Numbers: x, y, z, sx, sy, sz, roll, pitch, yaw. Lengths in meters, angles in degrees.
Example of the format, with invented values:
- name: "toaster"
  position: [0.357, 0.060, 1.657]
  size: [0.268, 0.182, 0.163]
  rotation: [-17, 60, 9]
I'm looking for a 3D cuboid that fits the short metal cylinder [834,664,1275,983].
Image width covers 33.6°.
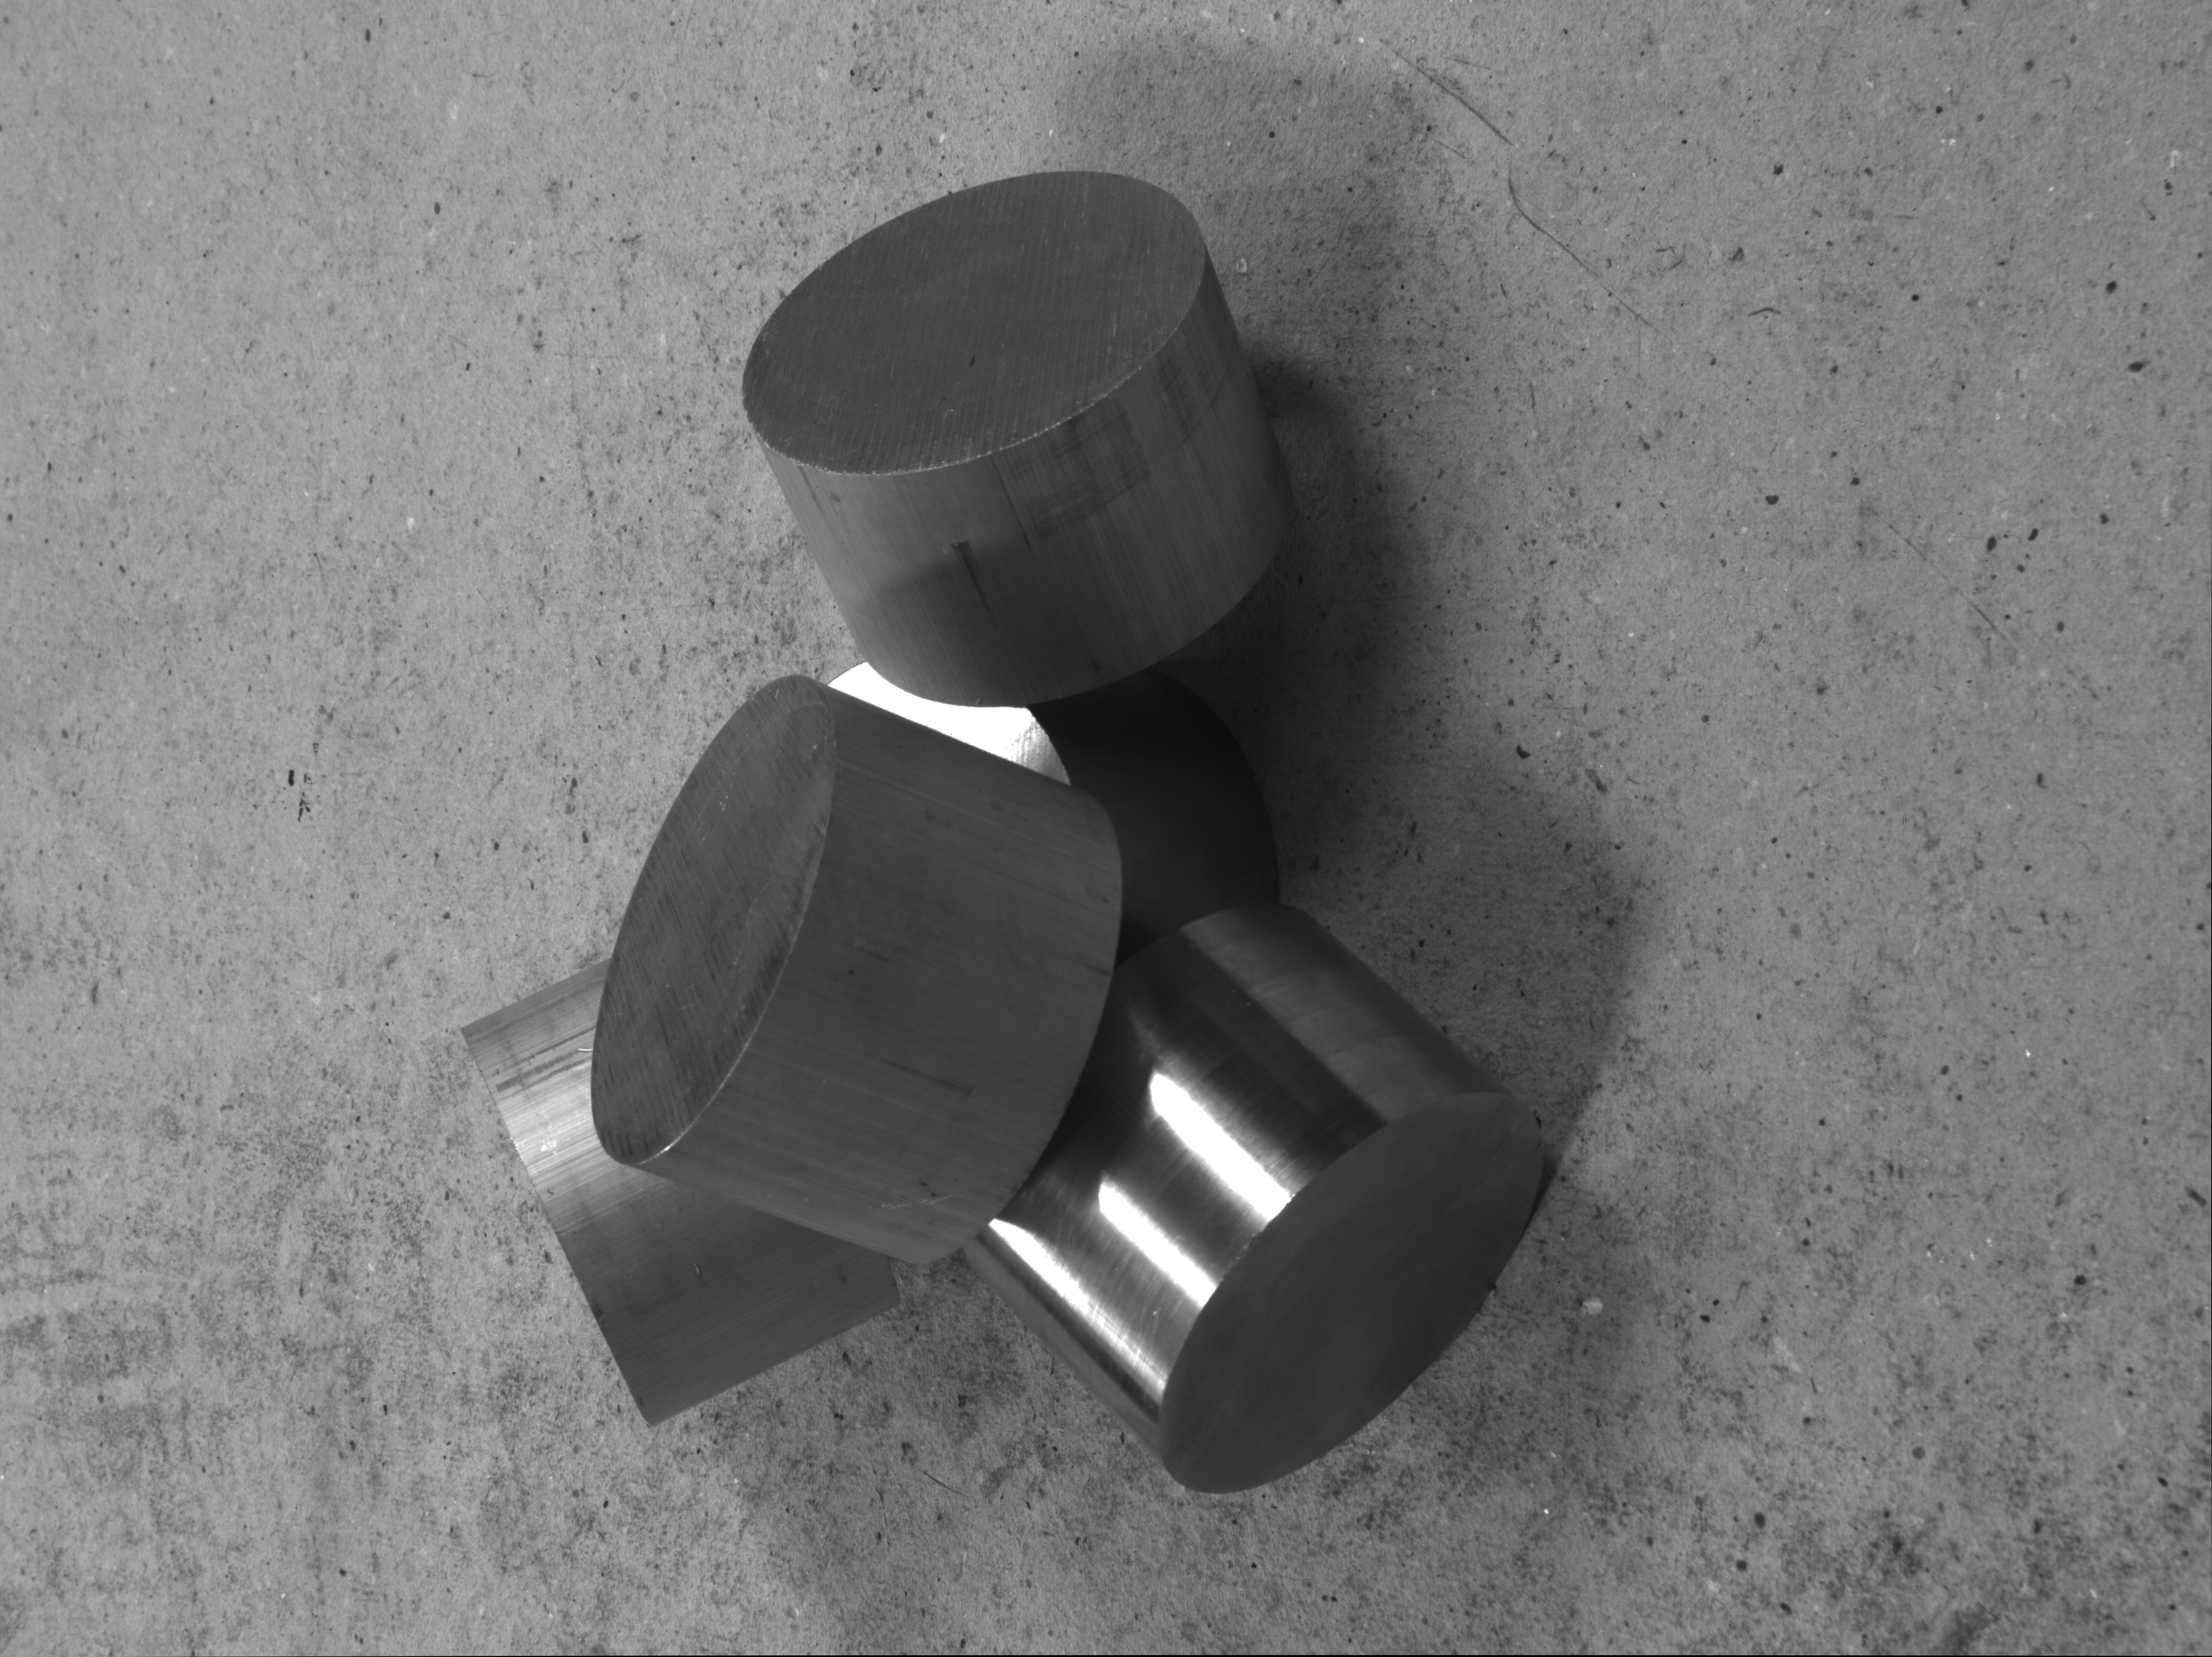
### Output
- name: "short metal cylinder"
  position: [-0.017, 0.010, 0.643]
  size: [0.080, 0.050, 0.080]
  rotation: [-1, 89, 40]

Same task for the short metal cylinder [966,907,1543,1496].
- name: "short metal cylinder"
  position: [0.024, 0.060, 0.589]
  size: [0.050, 0.080, 0.080]
  rotation: [42, 115, 32]

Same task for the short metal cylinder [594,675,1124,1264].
- name: "short metal cylinder"
  position: [-0.040, 0.022, 0.575]
  size: [0.080, 0.050, 0.080]
  rotation: [-46, 32, 40]

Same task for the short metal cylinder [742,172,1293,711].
- name: "short metal cylinder"
  position: [-0.014, -0.065, 0.613]
  size: [0.080, 0.080, 0.050]
  rotation: [18, 144, 39]

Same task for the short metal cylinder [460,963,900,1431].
- name: "short metal cylinder"
  position: [-0.077, 0.062, 0.667]
  size: [0.080, 0.050, 0.080]
  rotation: [61, 169, 21]
